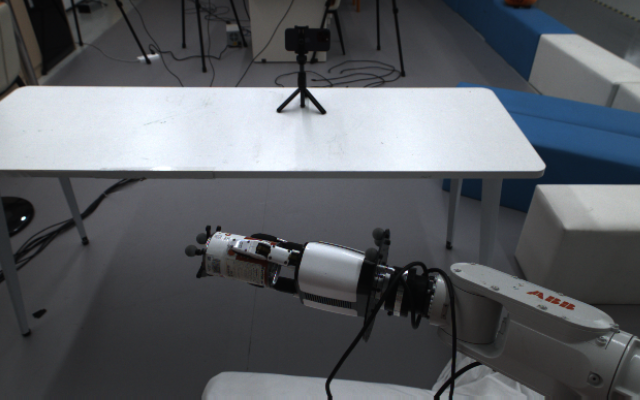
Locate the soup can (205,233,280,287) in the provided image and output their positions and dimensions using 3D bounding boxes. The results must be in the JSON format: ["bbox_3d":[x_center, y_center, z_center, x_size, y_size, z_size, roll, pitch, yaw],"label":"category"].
[{"bbox_3d":[-0.111,0.088,0.716,0.101,0.067,0.067,10,35,10],"label":"soup can"}]
